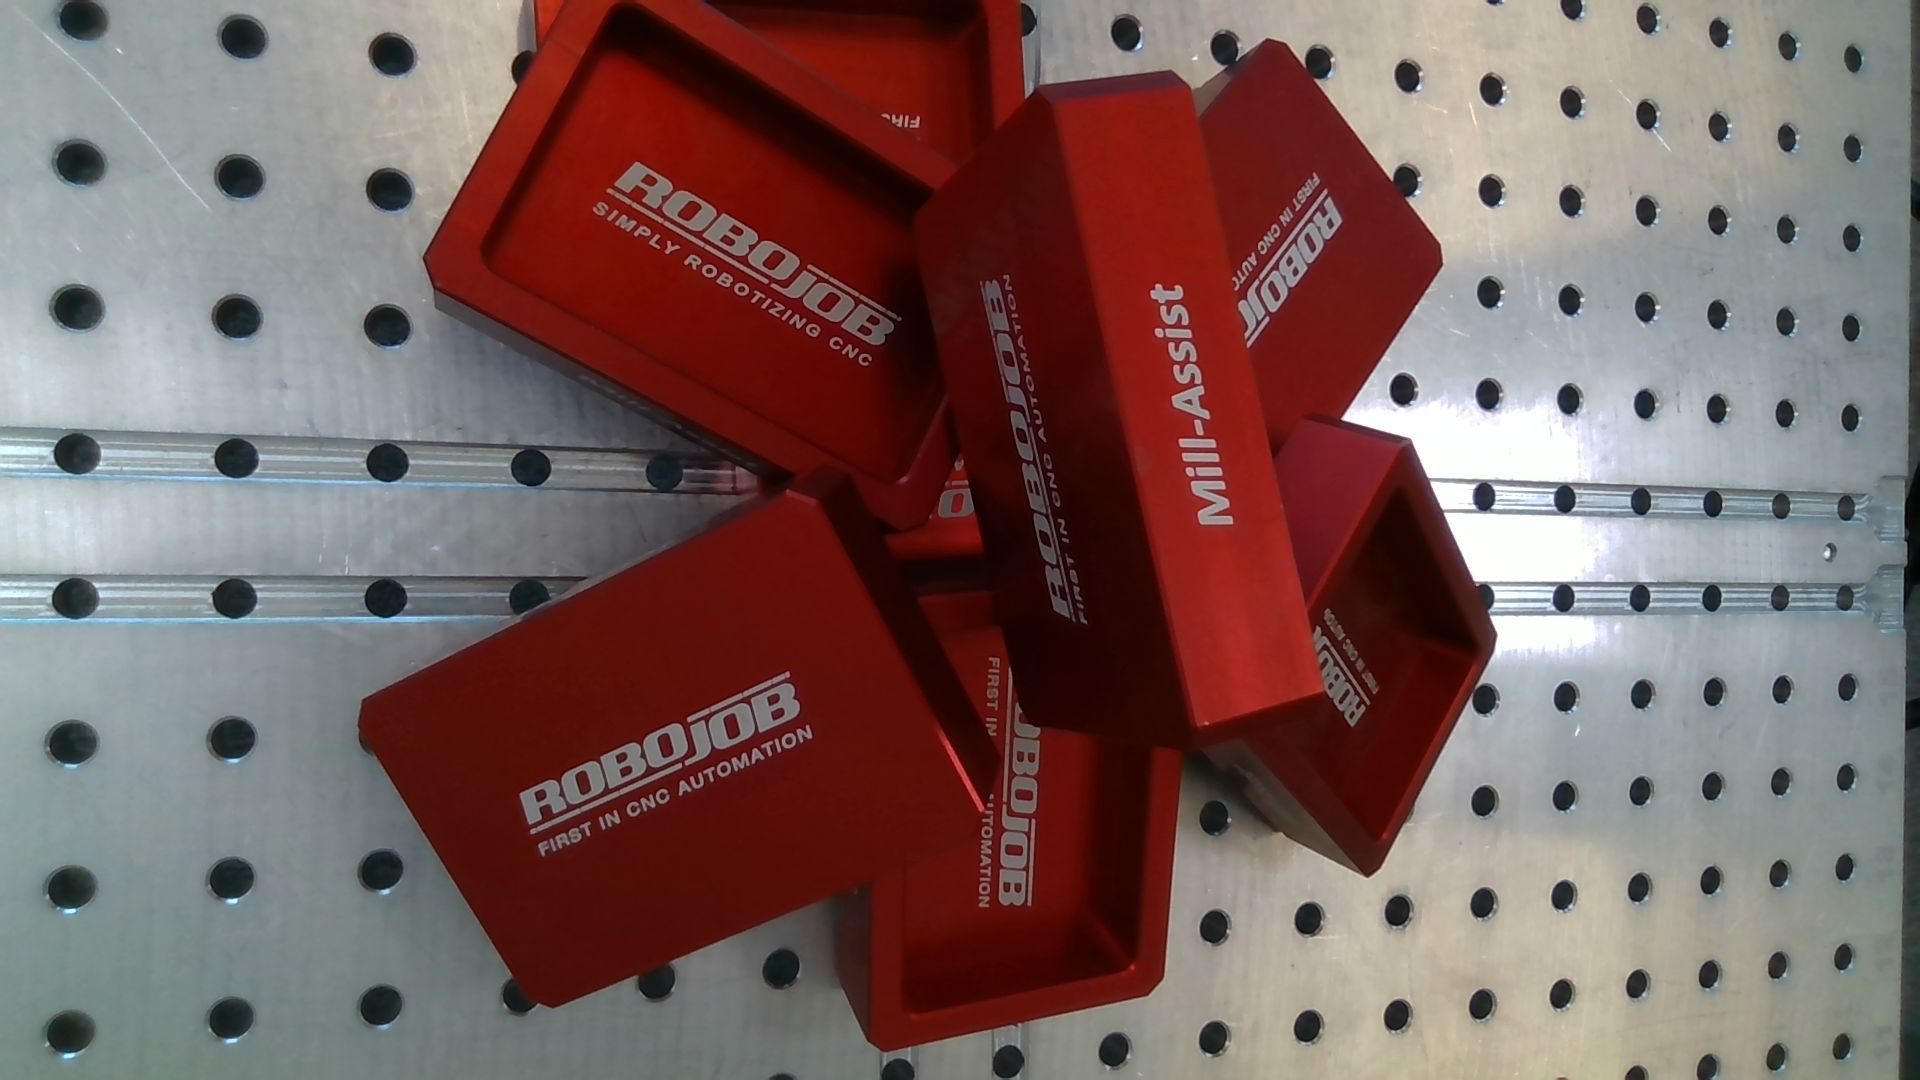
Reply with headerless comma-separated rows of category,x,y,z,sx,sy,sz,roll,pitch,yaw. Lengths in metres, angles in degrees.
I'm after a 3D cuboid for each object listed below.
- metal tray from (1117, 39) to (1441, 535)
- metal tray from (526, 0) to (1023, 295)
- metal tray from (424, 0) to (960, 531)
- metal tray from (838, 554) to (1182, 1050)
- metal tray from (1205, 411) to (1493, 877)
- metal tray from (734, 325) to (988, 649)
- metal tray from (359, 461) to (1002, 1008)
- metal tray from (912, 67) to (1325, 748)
metal tray,0.082,-0.075,0.406,0.090,0.030,0.130,47,60,-14
metal tray,-0.047,-0.111,0.376,0.130,0.030,0.090,-5,92,-21
metal tray,-0.051,-0.069,0.342,0.130,0.030,0.090,28,81,-18
metal tray,0.014,0.069,0.379,0.090,0.030,0.130,-5,109,-20
metal tray,0.110,0.035,0.398,0.090,0.030,0.130,-58,140,-11
metal tray,0.003,-0.015,0.394,0.130,0.030,0.090,-5,94,-22
metal tray,-0.067,0.049,0.334,0.130,0.030,0.090,-25,100,15
metal tray,0.030,-0.024,0.304,0.030,0.090,0.130,-13,90,-20
